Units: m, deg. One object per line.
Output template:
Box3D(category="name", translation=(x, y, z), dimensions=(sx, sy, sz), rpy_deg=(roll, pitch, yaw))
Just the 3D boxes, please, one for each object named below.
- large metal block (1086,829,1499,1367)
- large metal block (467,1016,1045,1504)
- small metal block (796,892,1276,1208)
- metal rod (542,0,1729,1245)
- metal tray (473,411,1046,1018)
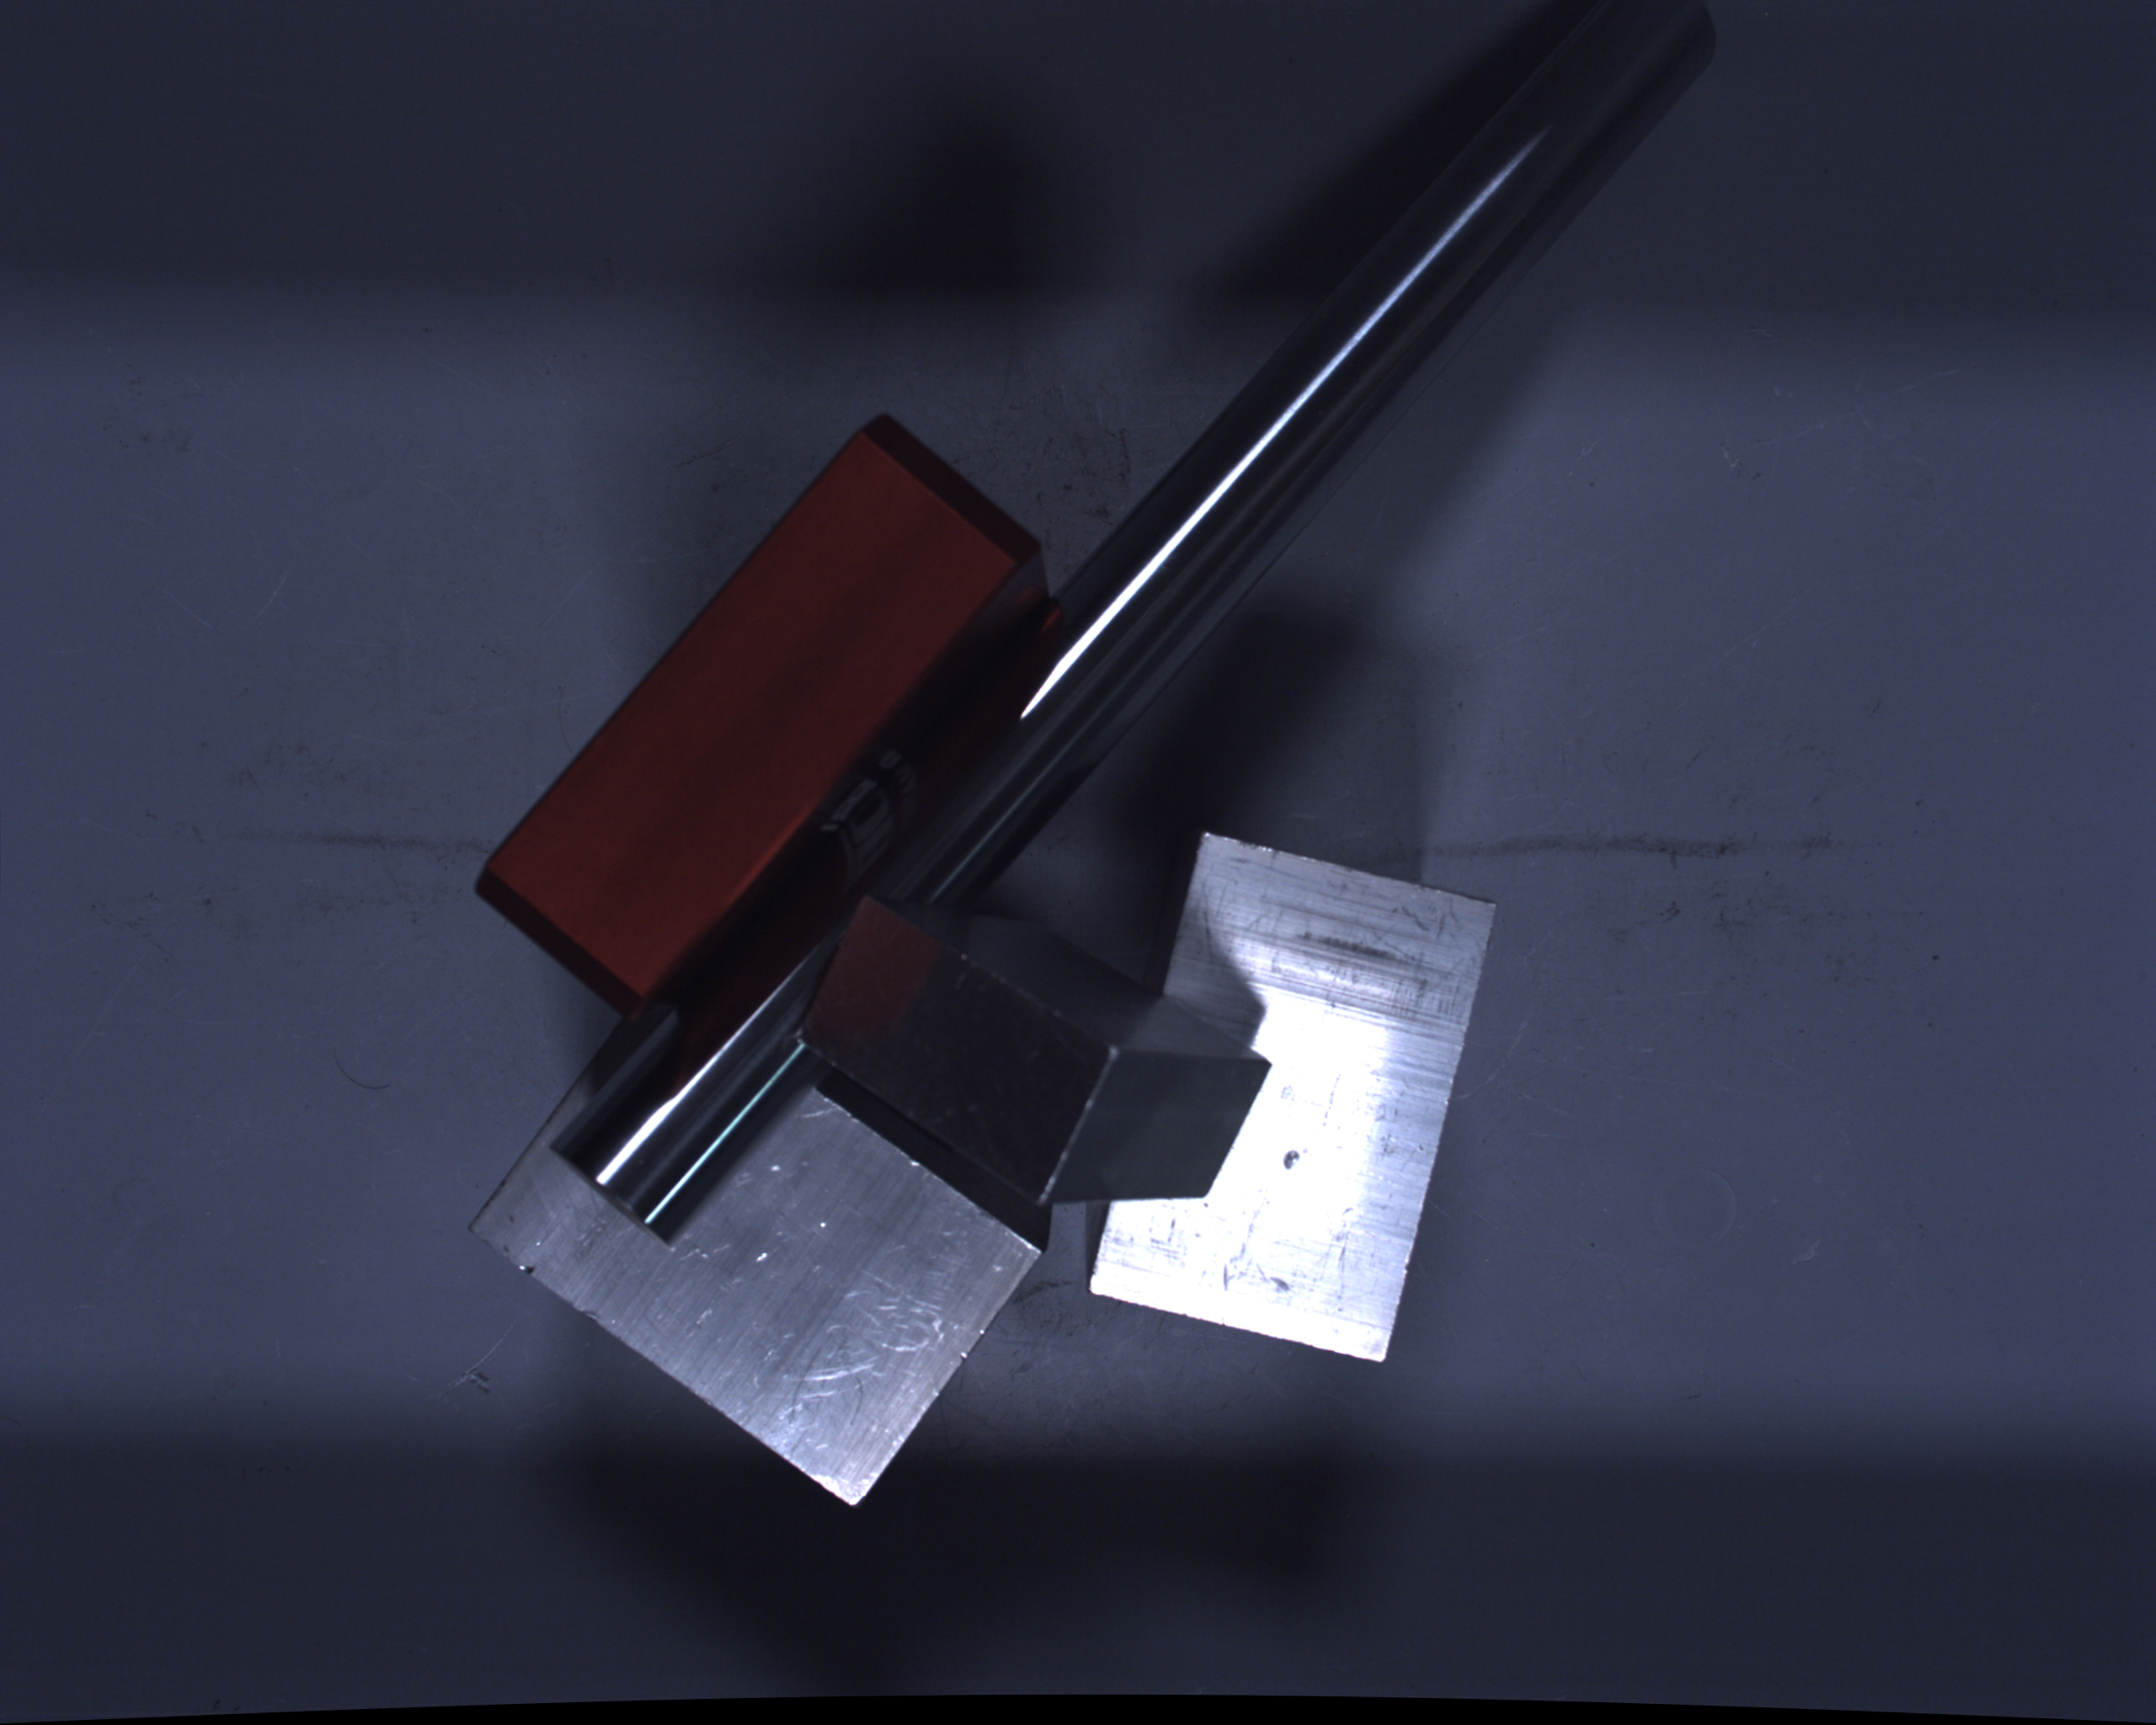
Box3D(category="large metal block", translation=(0.035, 0.039, 0.384), dimensions=(0.050, 0.080, 0.080), rpy_deg=(14, 90, 0))
Box3D(category="large metal block", translation=(-0.053, 0.062, 0.383), dimensions=(0.080, 0.080, 0.050), rpy_deg=(36, 90, -1))
Box3D(category="small metal block", translation=(-0.006, 0.029, 0.323), dimensions=(0.050, 0.050, 0.025), rpy_deg=(30, 99, 31))
Box3D(category="metal rod", translation=(0.022, -0.057, 0.365), dimensions=(0.025, 0.025, 0.301), rpy_deg=(42, 72, 0))
Box3D(category="metal tray", translation=(-0.045, -0.022, 0.357), dimensions=(0.030, 0.130, 0.090), rpy_deg=(40, 91, 0))
